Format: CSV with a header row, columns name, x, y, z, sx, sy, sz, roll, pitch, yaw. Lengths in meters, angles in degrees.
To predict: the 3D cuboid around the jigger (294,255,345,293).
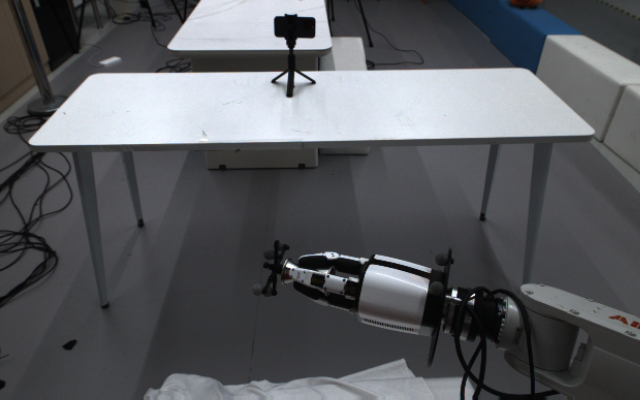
name,x,y,z,sx,sy,sz,roll,pitch,yaw
jigger,-0.011,0.105,0.689,0.071,0.043,0.043,10,35,16
